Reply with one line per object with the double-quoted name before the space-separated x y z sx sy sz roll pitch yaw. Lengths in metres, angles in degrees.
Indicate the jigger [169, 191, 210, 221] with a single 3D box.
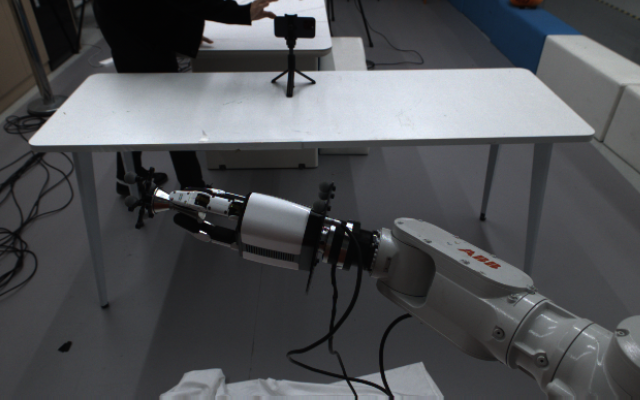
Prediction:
"jigger" -0.188 0.003 0.682 0.071 0.043 0.043 9 35 2
